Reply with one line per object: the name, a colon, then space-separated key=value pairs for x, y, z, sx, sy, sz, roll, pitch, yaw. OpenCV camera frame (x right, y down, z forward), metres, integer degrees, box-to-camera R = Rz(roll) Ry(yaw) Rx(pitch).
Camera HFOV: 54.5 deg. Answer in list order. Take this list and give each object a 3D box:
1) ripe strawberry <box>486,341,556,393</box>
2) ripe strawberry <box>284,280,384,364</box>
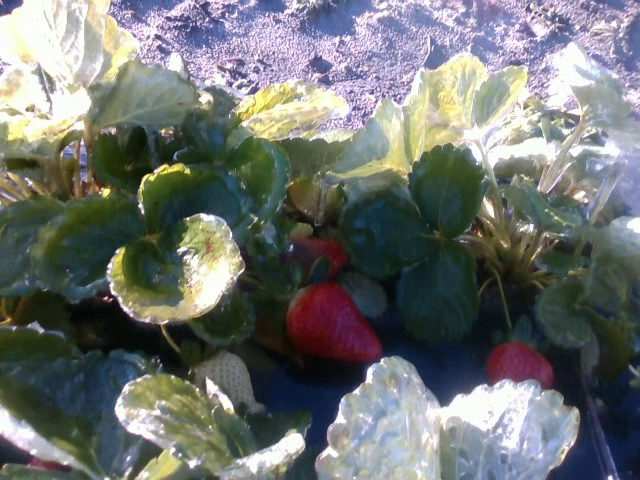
ripe strawberry: x=0.101 y=0.072 z=0.308 sx=0.039 sy=0.040 sz=0.047 roll=32 pitch=45 yaw=3
ripe strawberry: x=0.011 y=0.045 z=0.313 sx=0.044 sy=0.056 sz=0.040 roll=-44 pitch=-11 yaw=-33
